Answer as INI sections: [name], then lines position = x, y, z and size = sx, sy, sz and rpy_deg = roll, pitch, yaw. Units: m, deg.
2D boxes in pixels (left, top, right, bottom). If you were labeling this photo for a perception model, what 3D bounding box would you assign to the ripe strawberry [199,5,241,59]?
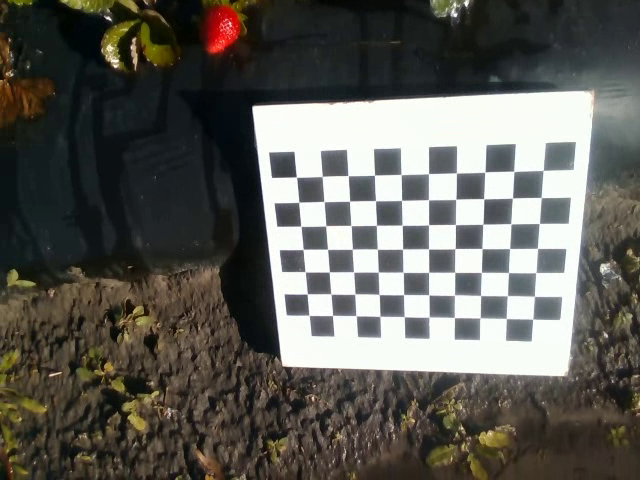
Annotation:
[ripe strawberry]
position = -0.068, -0.136, 0.452
size = 0.039, 0.039, 0.040
rpy_deg = -6, -42, 24
